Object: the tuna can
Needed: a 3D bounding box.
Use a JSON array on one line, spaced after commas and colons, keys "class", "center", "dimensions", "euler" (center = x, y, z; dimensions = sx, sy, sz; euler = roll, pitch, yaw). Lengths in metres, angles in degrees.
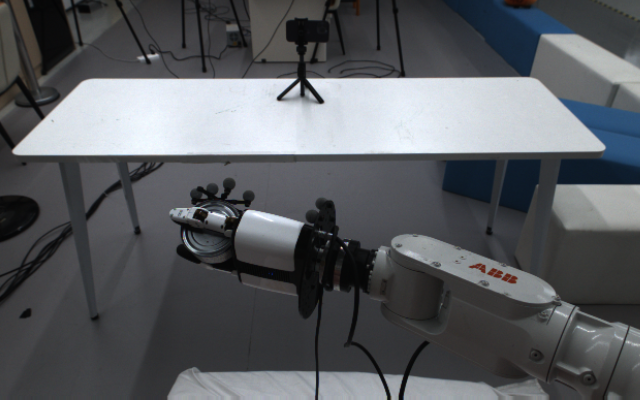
[{"class": "tuna can", "center": [-0.148, 0.045, 0.678], "dimensions": [0.085, 0.034, 0.085], "euler": [-3, 61, 5]}]
